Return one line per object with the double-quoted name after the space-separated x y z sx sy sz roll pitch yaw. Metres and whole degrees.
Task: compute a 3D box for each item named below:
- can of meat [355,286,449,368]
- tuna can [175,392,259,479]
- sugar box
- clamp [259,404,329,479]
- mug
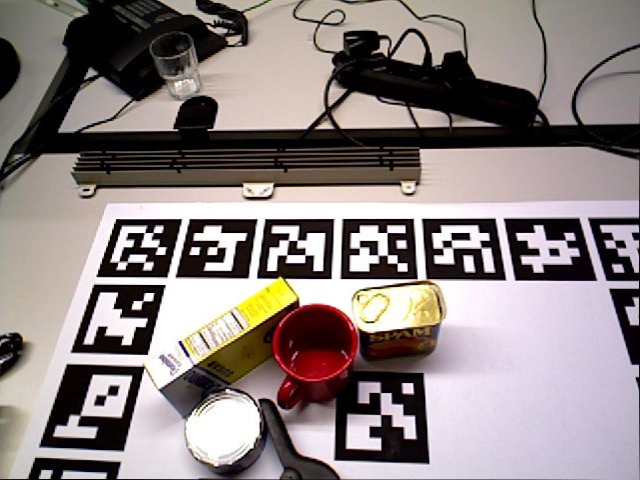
0.091 0.101 0.615 0.101 0.085 0.057 -6 54 -1 "can of meat"
-0.109 0.210 0.582 0.085 0.034 0.084 -3 58 4 "tuna can"
-0.103 0.126 0.610 0.174 0.094 0.045 -31 57 -17 "sugar box"
-0.035 0.259 0.549 0.165 0.037 0.119 33 60 19 "clamp"
-0.012 0.137 0.591 0.093 0.083 0.115 23 62 18 "mug"
